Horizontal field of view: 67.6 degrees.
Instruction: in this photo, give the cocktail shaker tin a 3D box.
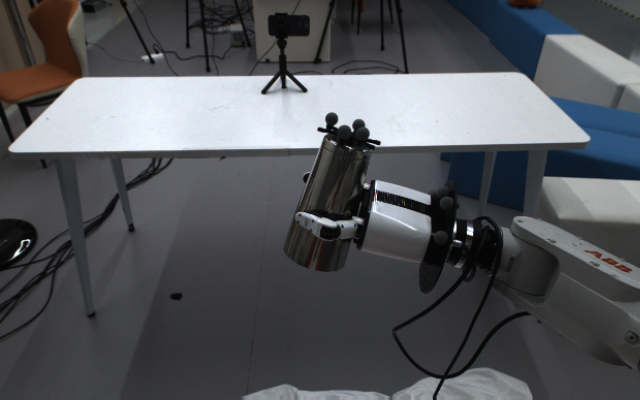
[{"bbox_3d":[0.015,0.001,0.663,0.093,0.170,0.093,15,20,-5],"label":"cocktail shaker tin"}]
